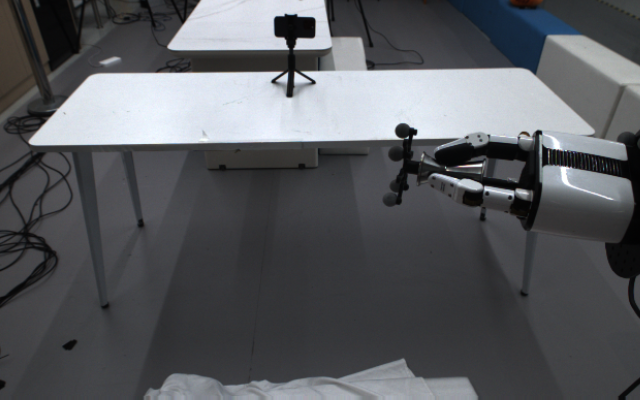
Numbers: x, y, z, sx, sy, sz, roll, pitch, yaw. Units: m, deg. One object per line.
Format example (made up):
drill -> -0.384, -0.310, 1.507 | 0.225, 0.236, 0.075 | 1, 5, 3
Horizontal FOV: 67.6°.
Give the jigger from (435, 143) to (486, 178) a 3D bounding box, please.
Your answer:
jigger -> 0.152, -0.033, 0.541 | 0.071, 0.043, 0.043 | 11, 36, 15
